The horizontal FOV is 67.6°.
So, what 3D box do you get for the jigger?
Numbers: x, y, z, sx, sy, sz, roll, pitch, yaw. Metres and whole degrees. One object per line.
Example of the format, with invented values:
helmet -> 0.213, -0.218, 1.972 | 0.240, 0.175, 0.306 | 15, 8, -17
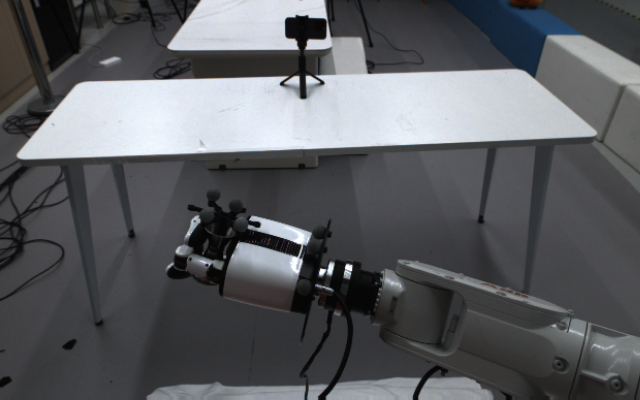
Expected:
jigger -> -0.129, 0.067, 0.601 | 0.043, 0.071, 0.043 | 18, 17, -6
